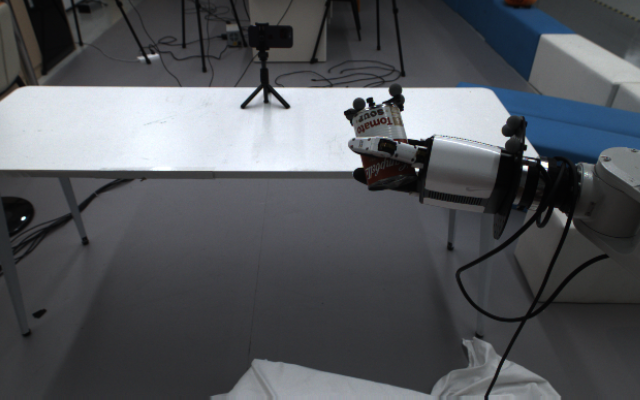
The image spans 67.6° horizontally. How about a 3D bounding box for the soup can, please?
[{"bbox_3d":[0.087,-0.072,0.654,0.067,0.067,0.101,-10,80,-16],"label":"soup can"}]
